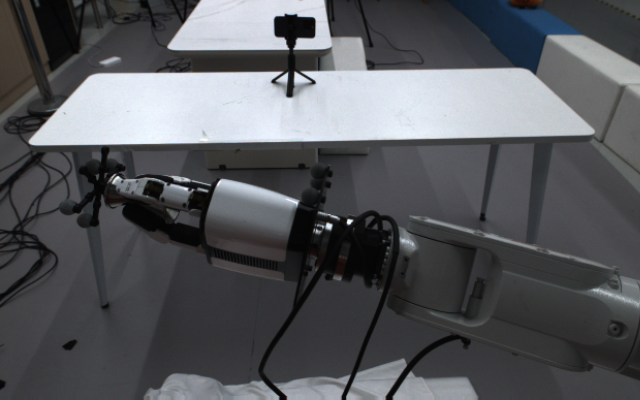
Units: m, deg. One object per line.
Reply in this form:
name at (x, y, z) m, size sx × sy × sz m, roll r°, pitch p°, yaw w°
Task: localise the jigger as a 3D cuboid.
jigger at (-0.181, -0.005, 0.518) m, size 0.071 × 0.043 × 0.043 m, roll 13°, pitch 36°, yaw 4°
